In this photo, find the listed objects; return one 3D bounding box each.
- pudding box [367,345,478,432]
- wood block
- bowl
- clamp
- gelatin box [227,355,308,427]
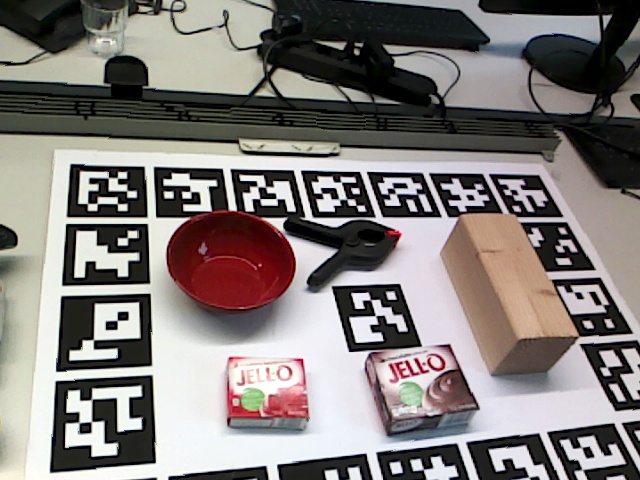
[{"bbox_3d":[0.121,0.178,0.748,0.113,0.038,0.090,-2,54,-15],"label":"pudding box"},{"bbox_3d":[0.256,0.071,0.846,0.089,0.091,0.207,2,49,-16],"label":"wood block"},{"bbox_3d":[-0.116,0.037,0.800,0.161,0.055,0.162,9,50,-11],"label":"bowl"},{"bbox_3d":[0.028,0.011,0.880,0.164,0.036,0.122,-8,52,-25],"label":"clamp"},{"bbox_3d":[-0.060,0.171,0.704,0.089,0.030,0.073,6,50,-12],"label":"gelatin box"}]
